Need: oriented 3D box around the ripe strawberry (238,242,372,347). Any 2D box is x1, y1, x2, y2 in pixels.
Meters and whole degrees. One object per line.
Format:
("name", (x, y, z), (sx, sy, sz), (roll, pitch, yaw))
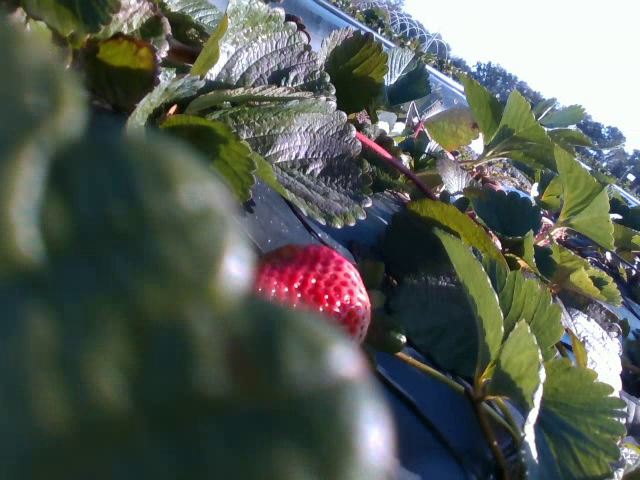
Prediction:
("ripe strawberry", (-0.008, 0.018, 0.160), (0.044, 0.042, 0.055), (-9, -20, 32))
